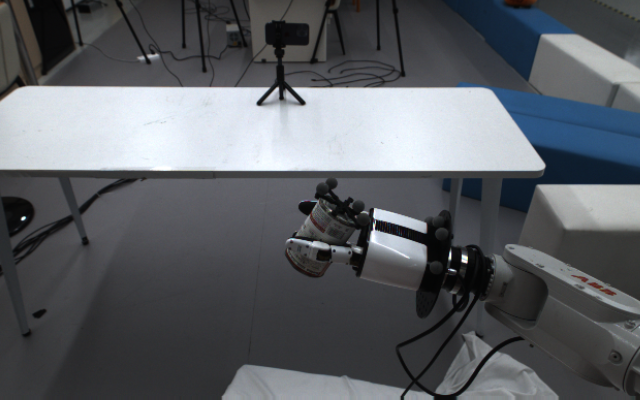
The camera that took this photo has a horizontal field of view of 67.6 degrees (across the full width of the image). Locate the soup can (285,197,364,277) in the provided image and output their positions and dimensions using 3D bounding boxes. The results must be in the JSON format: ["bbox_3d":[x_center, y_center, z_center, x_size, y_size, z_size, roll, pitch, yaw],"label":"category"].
[{"bbox_3d":[0.004,0.053,0.695,0.067,0.101,0.067,28,22,-12],"label":"soup can"}]
